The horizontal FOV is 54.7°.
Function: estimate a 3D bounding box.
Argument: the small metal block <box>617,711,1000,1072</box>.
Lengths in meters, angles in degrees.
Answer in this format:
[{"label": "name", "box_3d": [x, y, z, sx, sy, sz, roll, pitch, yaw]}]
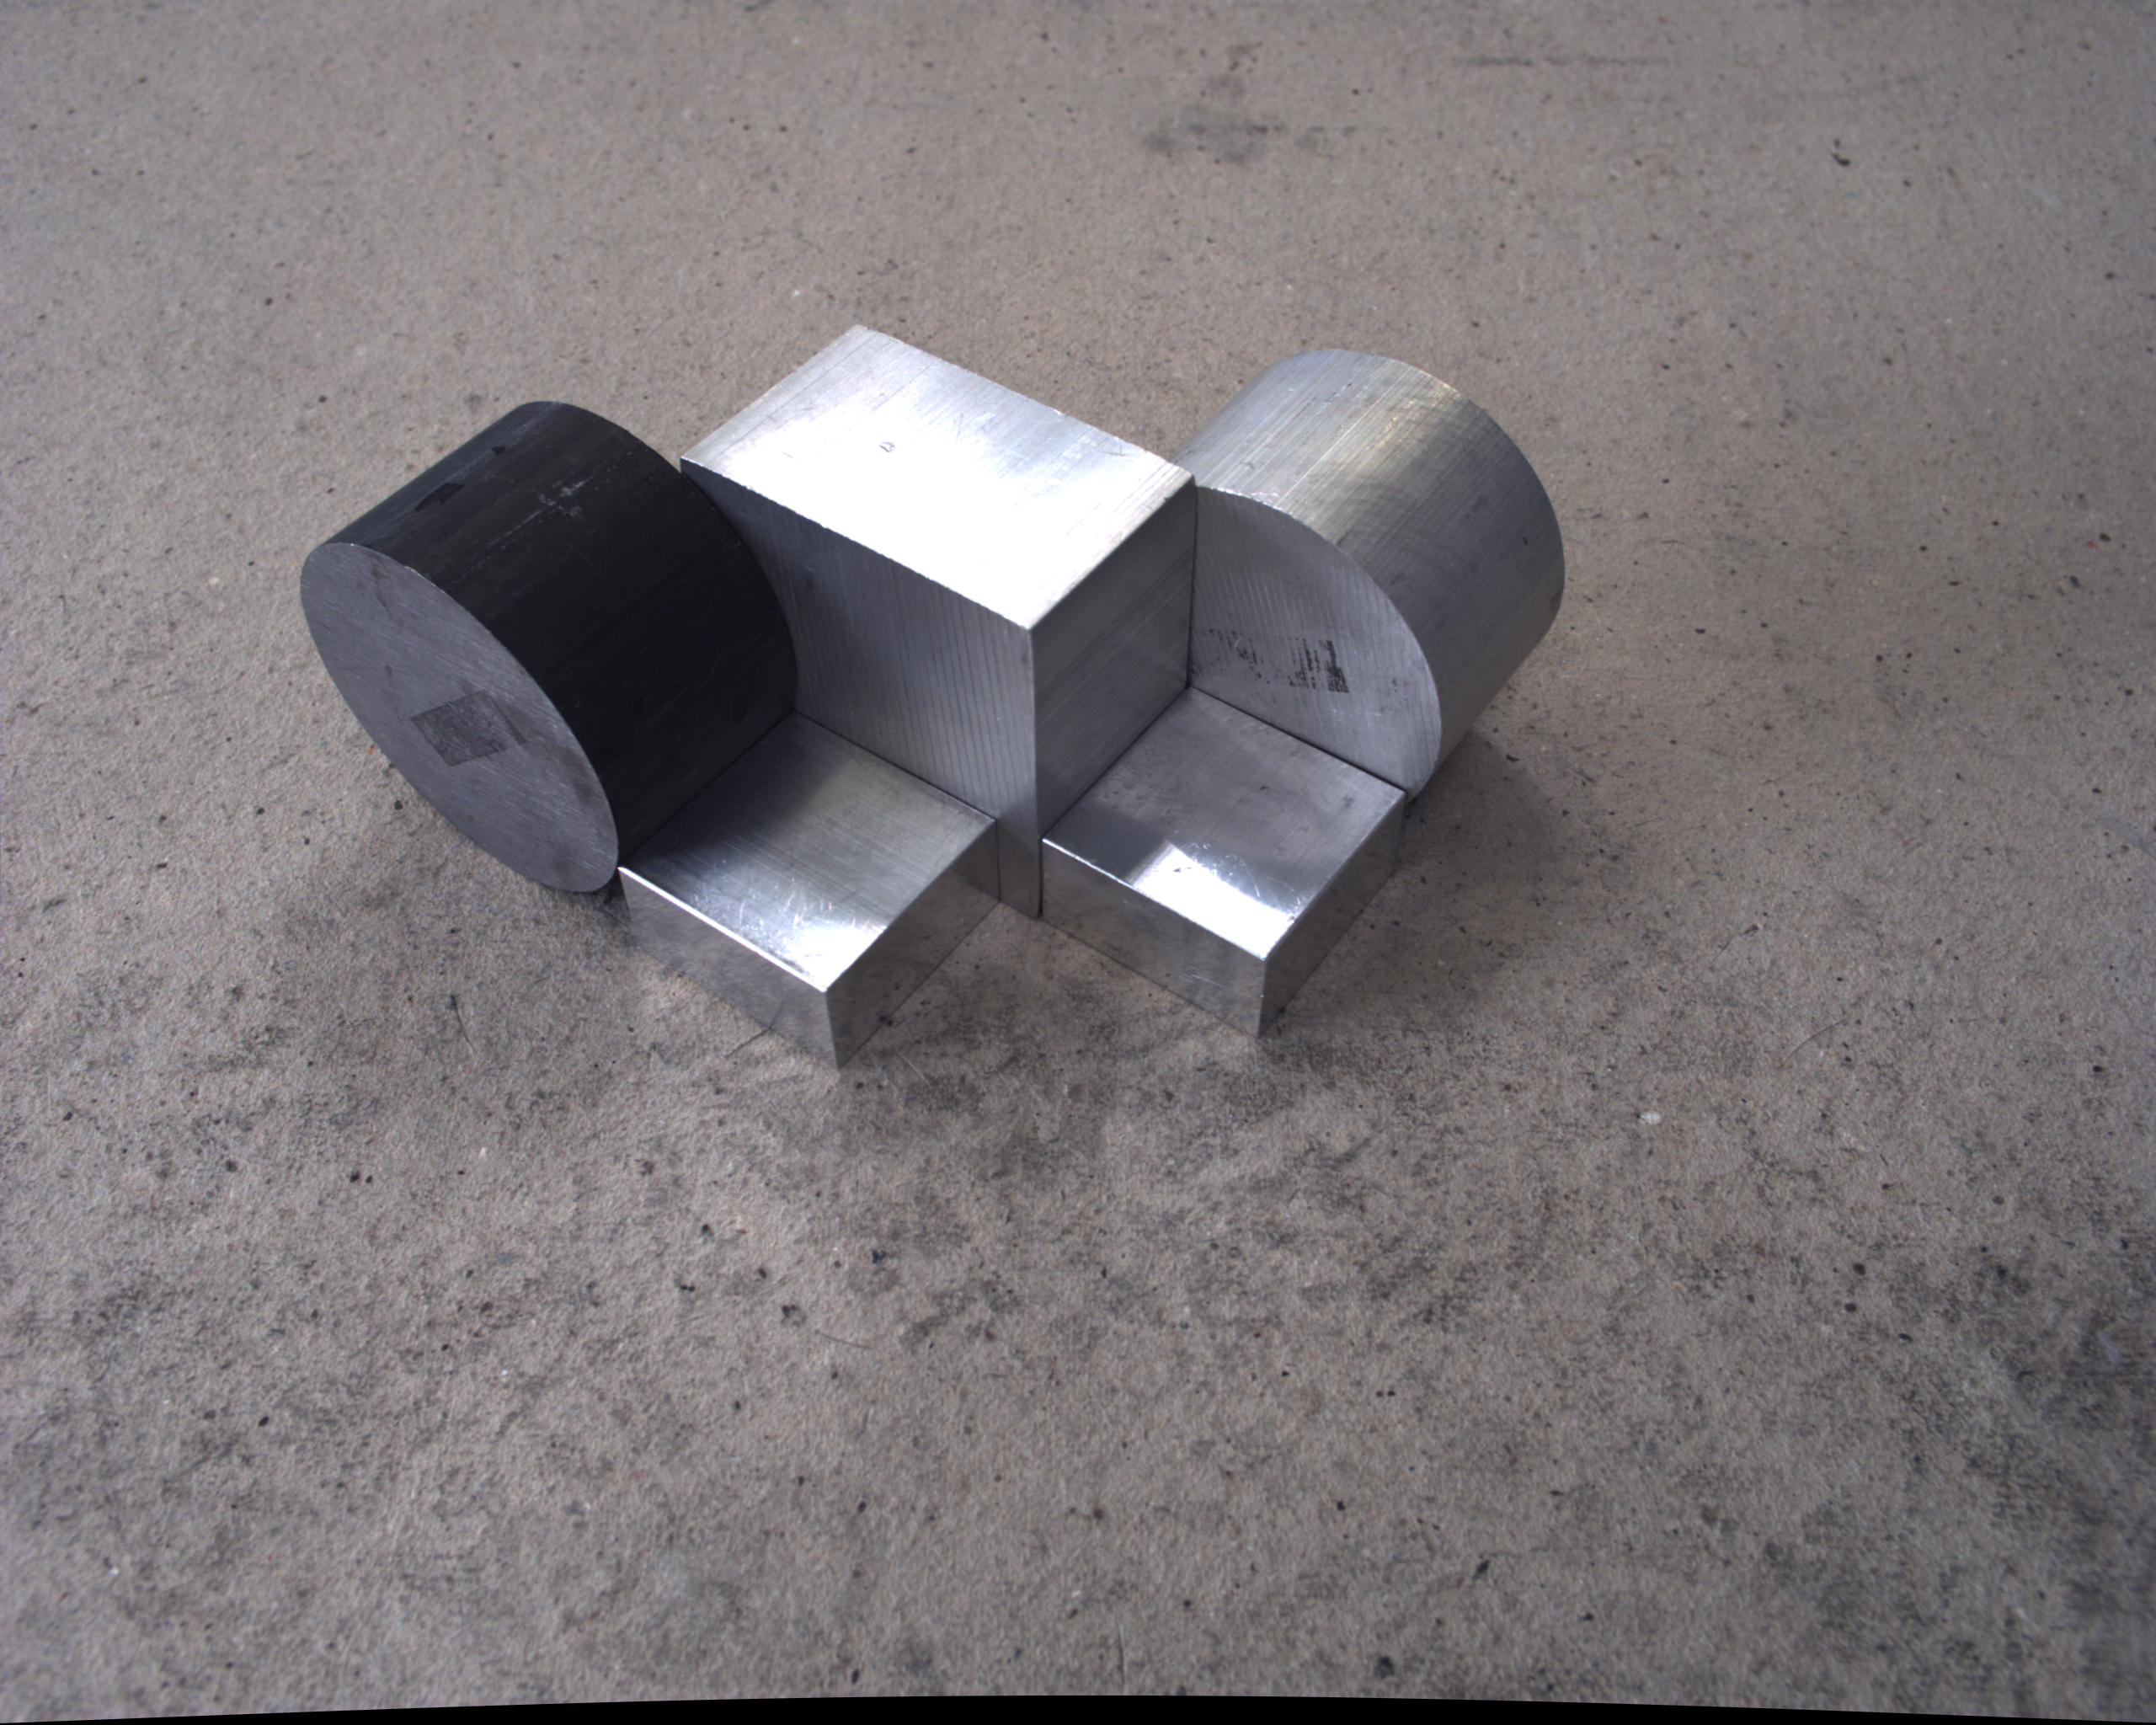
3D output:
[{"label": "small metal block", "box_3d": [-0.051, 0.004, 0.401, 0.050, 0.025, 0.050, 28, 55, 22]}]

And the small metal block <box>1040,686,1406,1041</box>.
[{"label": "small metal block", "box_3d": [0.028, -0.001, 0.406, 0.050, 0.025, 0.050, 28, 55, 22]}]

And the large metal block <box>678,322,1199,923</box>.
[{"label": "large metal block", "box_3d": [-0.026, -0.047, 0.409, 0.080, 0.080, 0.050, 28, 55, 21]}]

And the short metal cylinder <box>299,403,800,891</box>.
[{"label": "short metal cylinder", "box_3d": [-0.101, -0.041, 0.403, 0.080, 0.080, 0.050, 28, 56, 21]}]

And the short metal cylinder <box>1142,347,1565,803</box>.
[{"label": "short metal cylinder", "box_3d": [0.049, -0.055, 0.415, 0.080, 0.080, 0.050, 29, 56, 22]}]
